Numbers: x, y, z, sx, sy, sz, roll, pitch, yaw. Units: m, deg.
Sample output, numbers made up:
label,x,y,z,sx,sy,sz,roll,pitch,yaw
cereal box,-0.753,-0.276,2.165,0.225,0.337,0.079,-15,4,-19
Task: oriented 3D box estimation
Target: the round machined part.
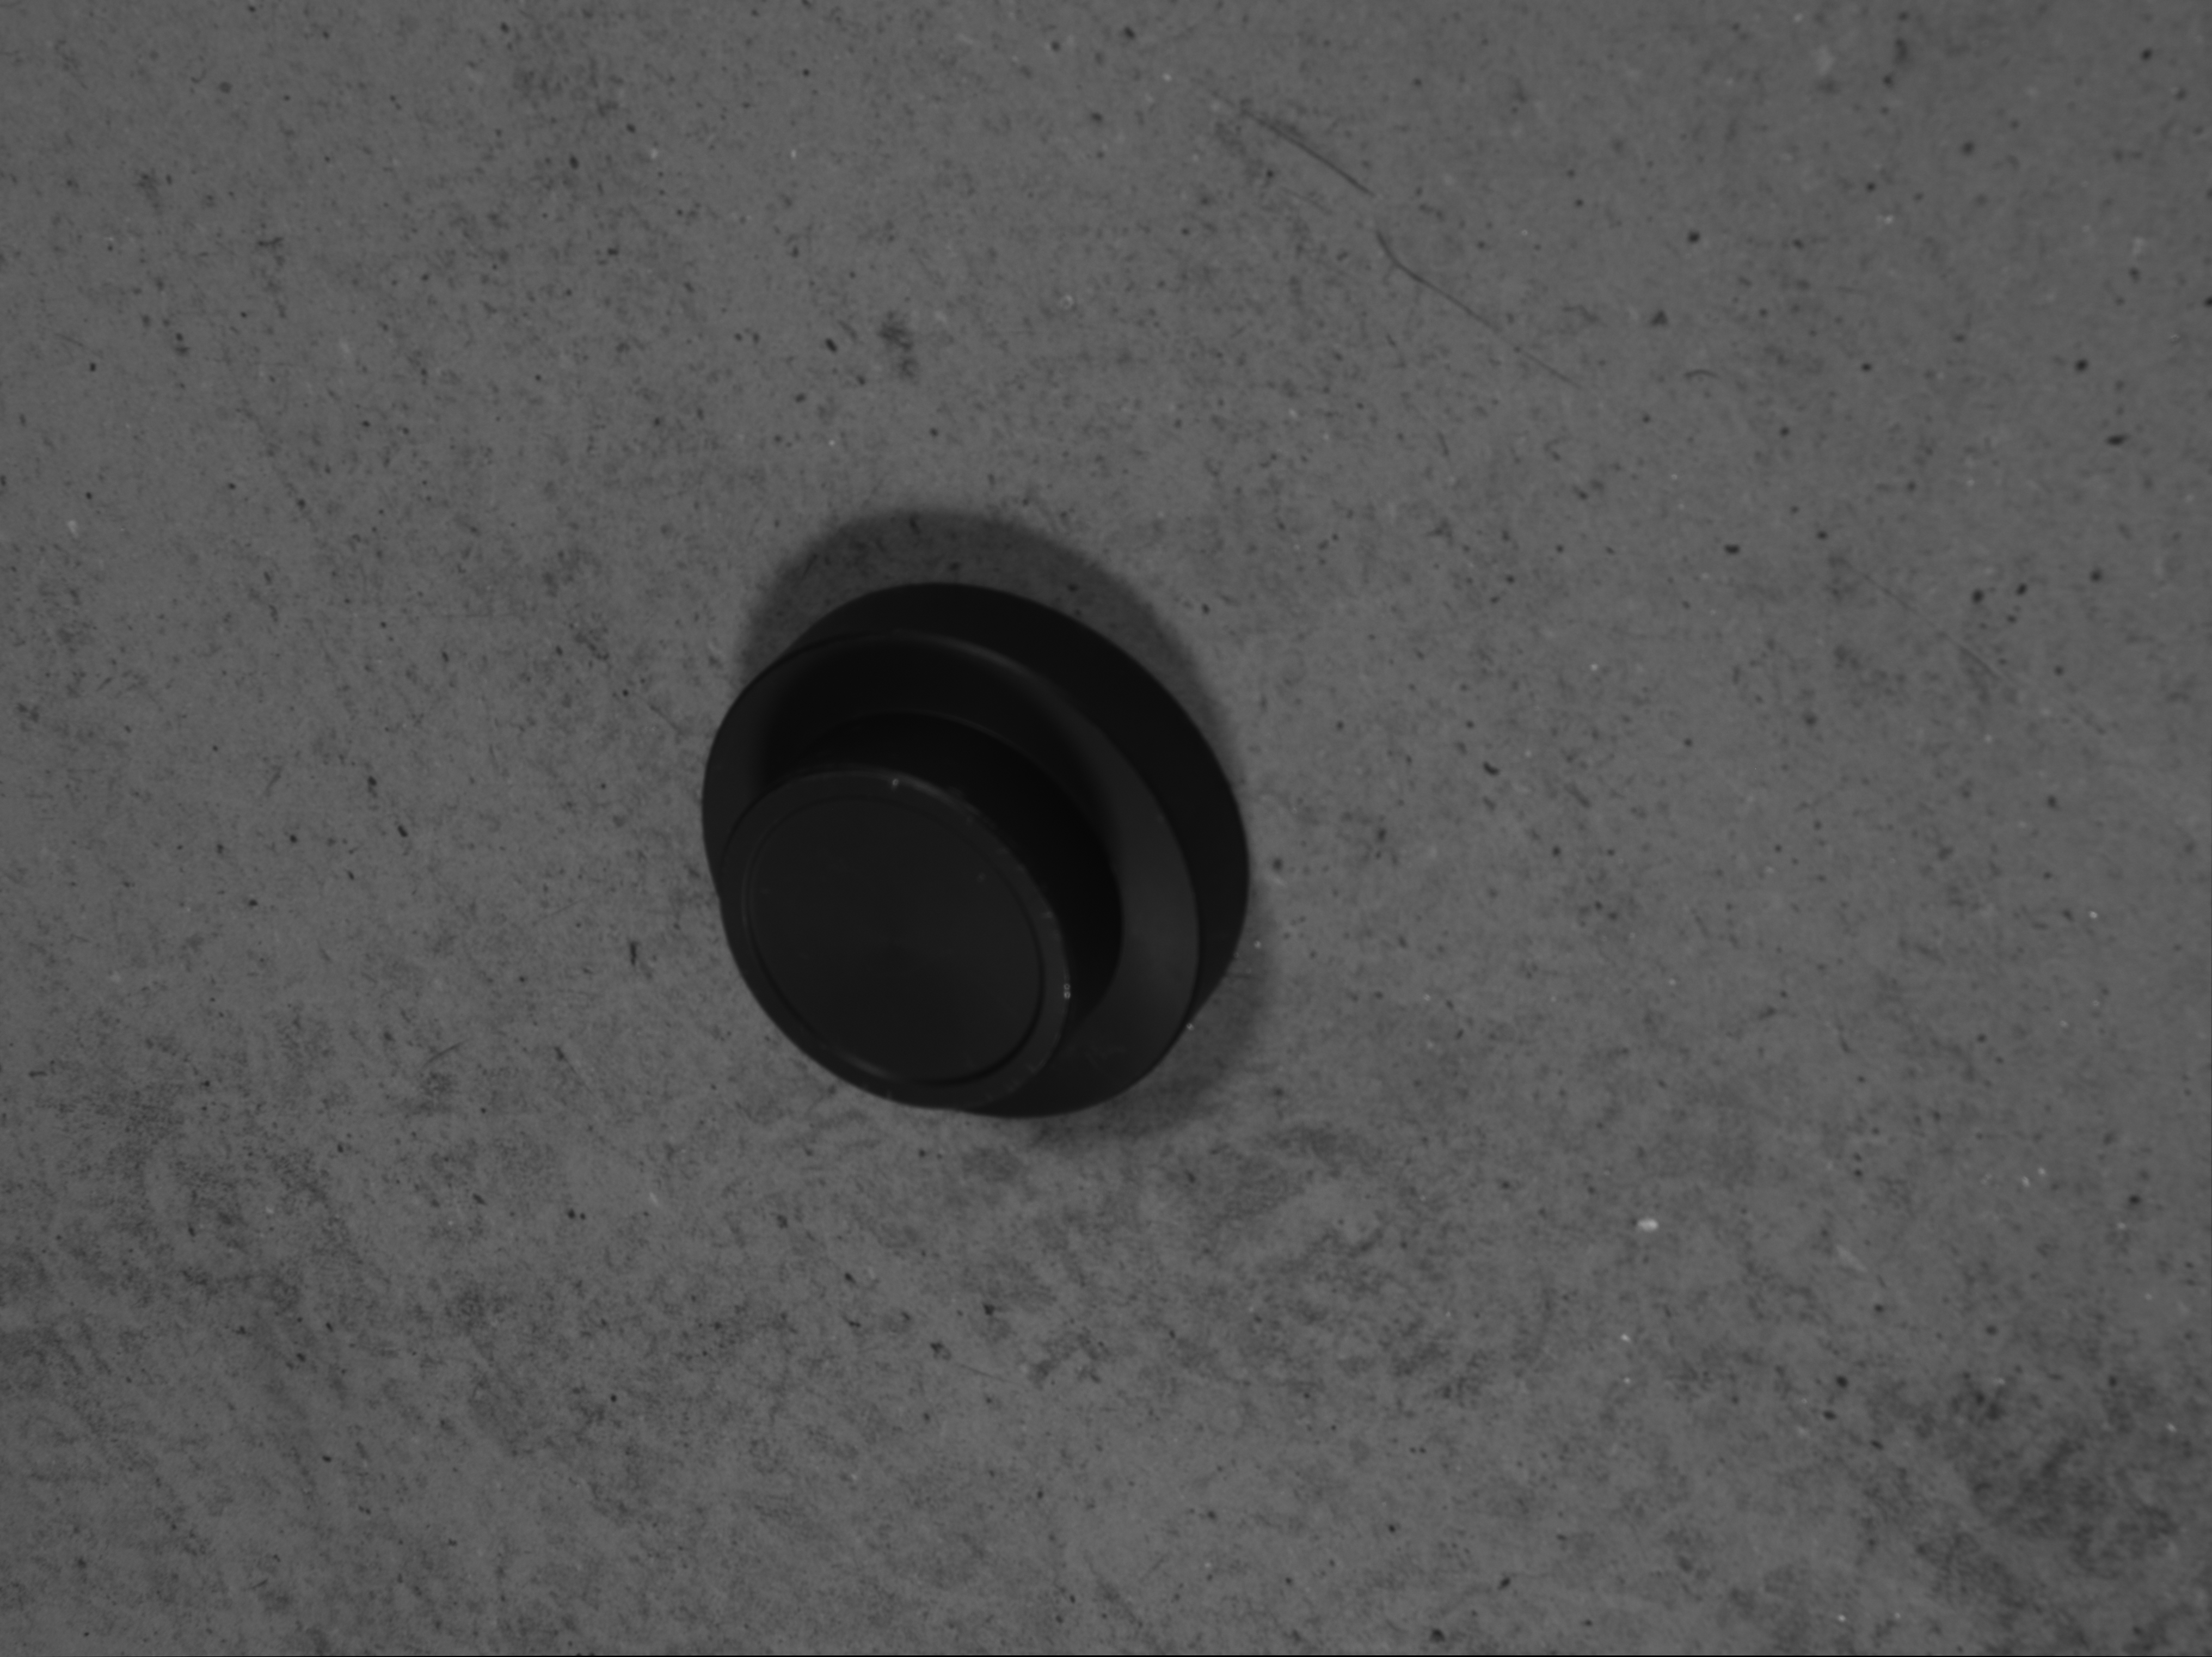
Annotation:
label,x,y,z,sx,sy,sz,roll,pitch,yaw
round machined part,-0.031,0.011,0.642,0.098,0.042,0.098,12,123,20
